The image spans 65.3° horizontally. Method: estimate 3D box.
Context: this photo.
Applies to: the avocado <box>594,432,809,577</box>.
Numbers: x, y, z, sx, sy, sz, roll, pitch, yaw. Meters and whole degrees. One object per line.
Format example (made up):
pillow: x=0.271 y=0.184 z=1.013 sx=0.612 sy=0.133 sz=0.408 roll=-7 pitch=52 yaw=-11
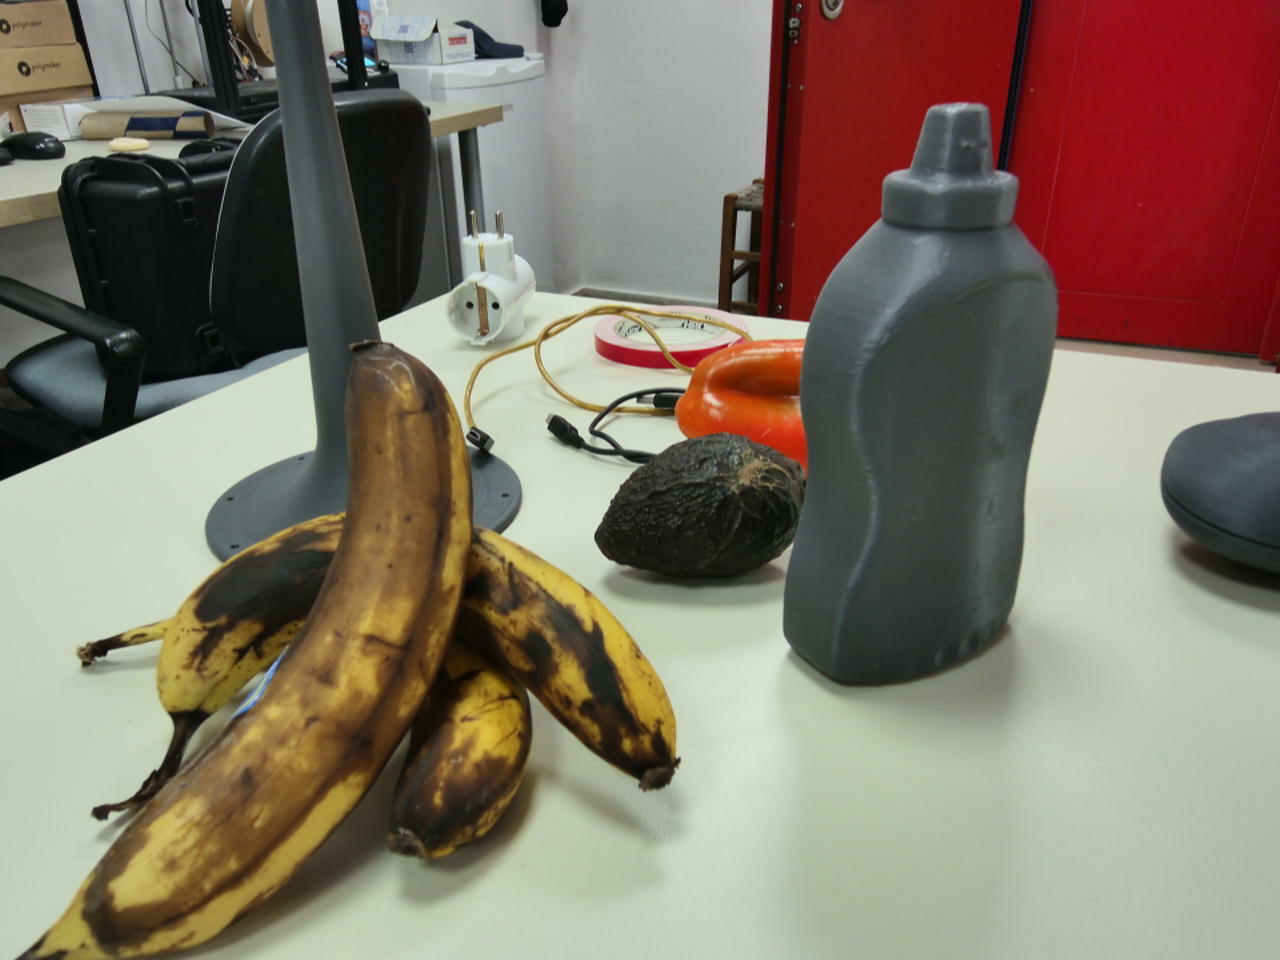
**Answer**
avocado: x=0.027 y=0.011 z=0.434 sx=0.092 sy=0.062 sz=0.062 roll=1 pitch=24 yaw=2
